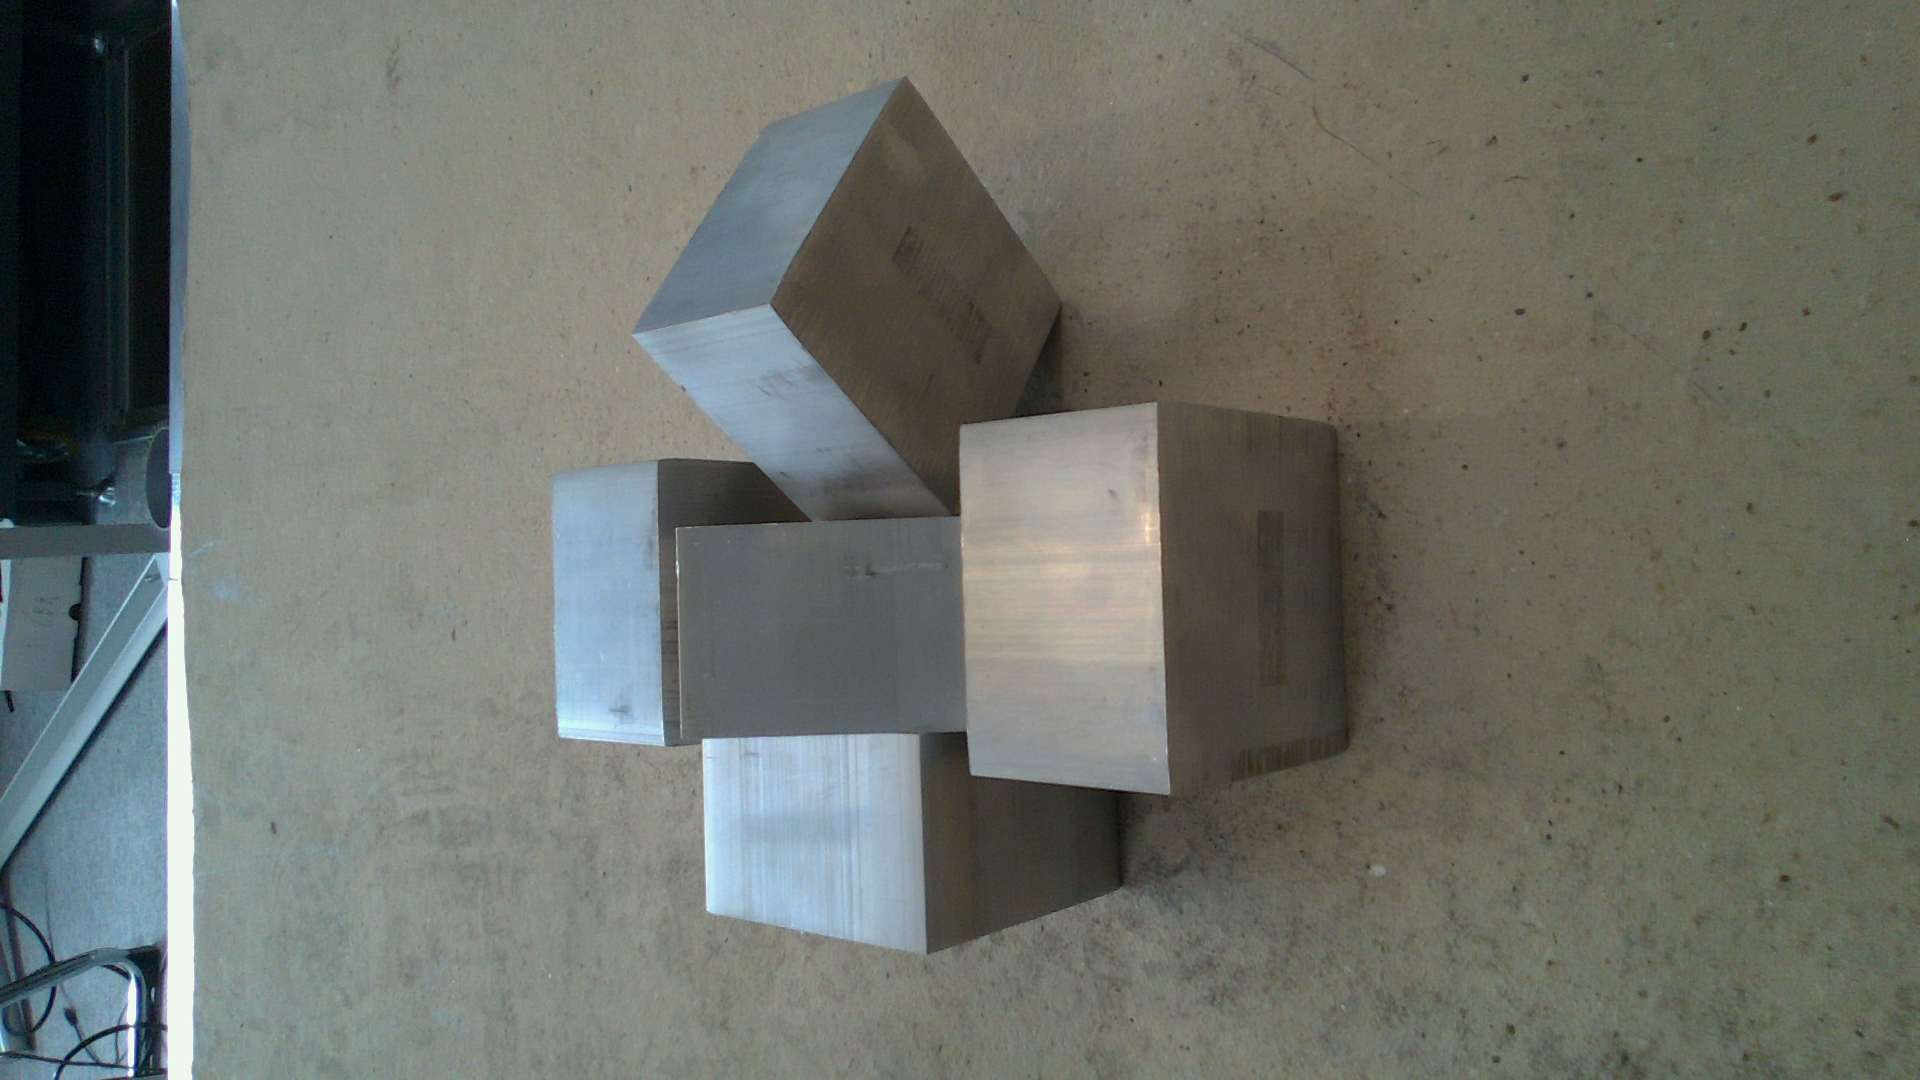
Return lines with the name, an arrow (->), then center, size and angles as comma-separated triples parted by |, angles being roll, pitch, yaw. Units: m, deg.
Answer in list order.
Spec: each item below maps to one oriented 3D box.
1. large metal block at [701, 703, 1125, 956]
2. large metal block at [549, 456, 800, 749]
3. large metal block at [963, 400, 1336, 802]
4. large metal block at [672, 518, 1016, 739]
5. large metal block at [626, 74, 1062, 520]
large metal block -> -0.012, 0.072, 0.370 | 0.080, 0.080, 0.050 | -3, 88, 40
large metal block -> -0.076, 0.018, 0.422 | 0.050, 0.080, 0.080 | -3, 88, 40
large metal block -> 0.046, 0.014, 0.320 | 0.050, 0.080, 0.080 | -3, 87, 39
large metal block -> -0.024, 0.022, 0.360 | 0.080, 0.080, 0.050 | -2, 88, 5
large metal block -> -0.026, -0.059, 0.362 | 0.050, 0.080, 0.080 | -4, 50, 40
